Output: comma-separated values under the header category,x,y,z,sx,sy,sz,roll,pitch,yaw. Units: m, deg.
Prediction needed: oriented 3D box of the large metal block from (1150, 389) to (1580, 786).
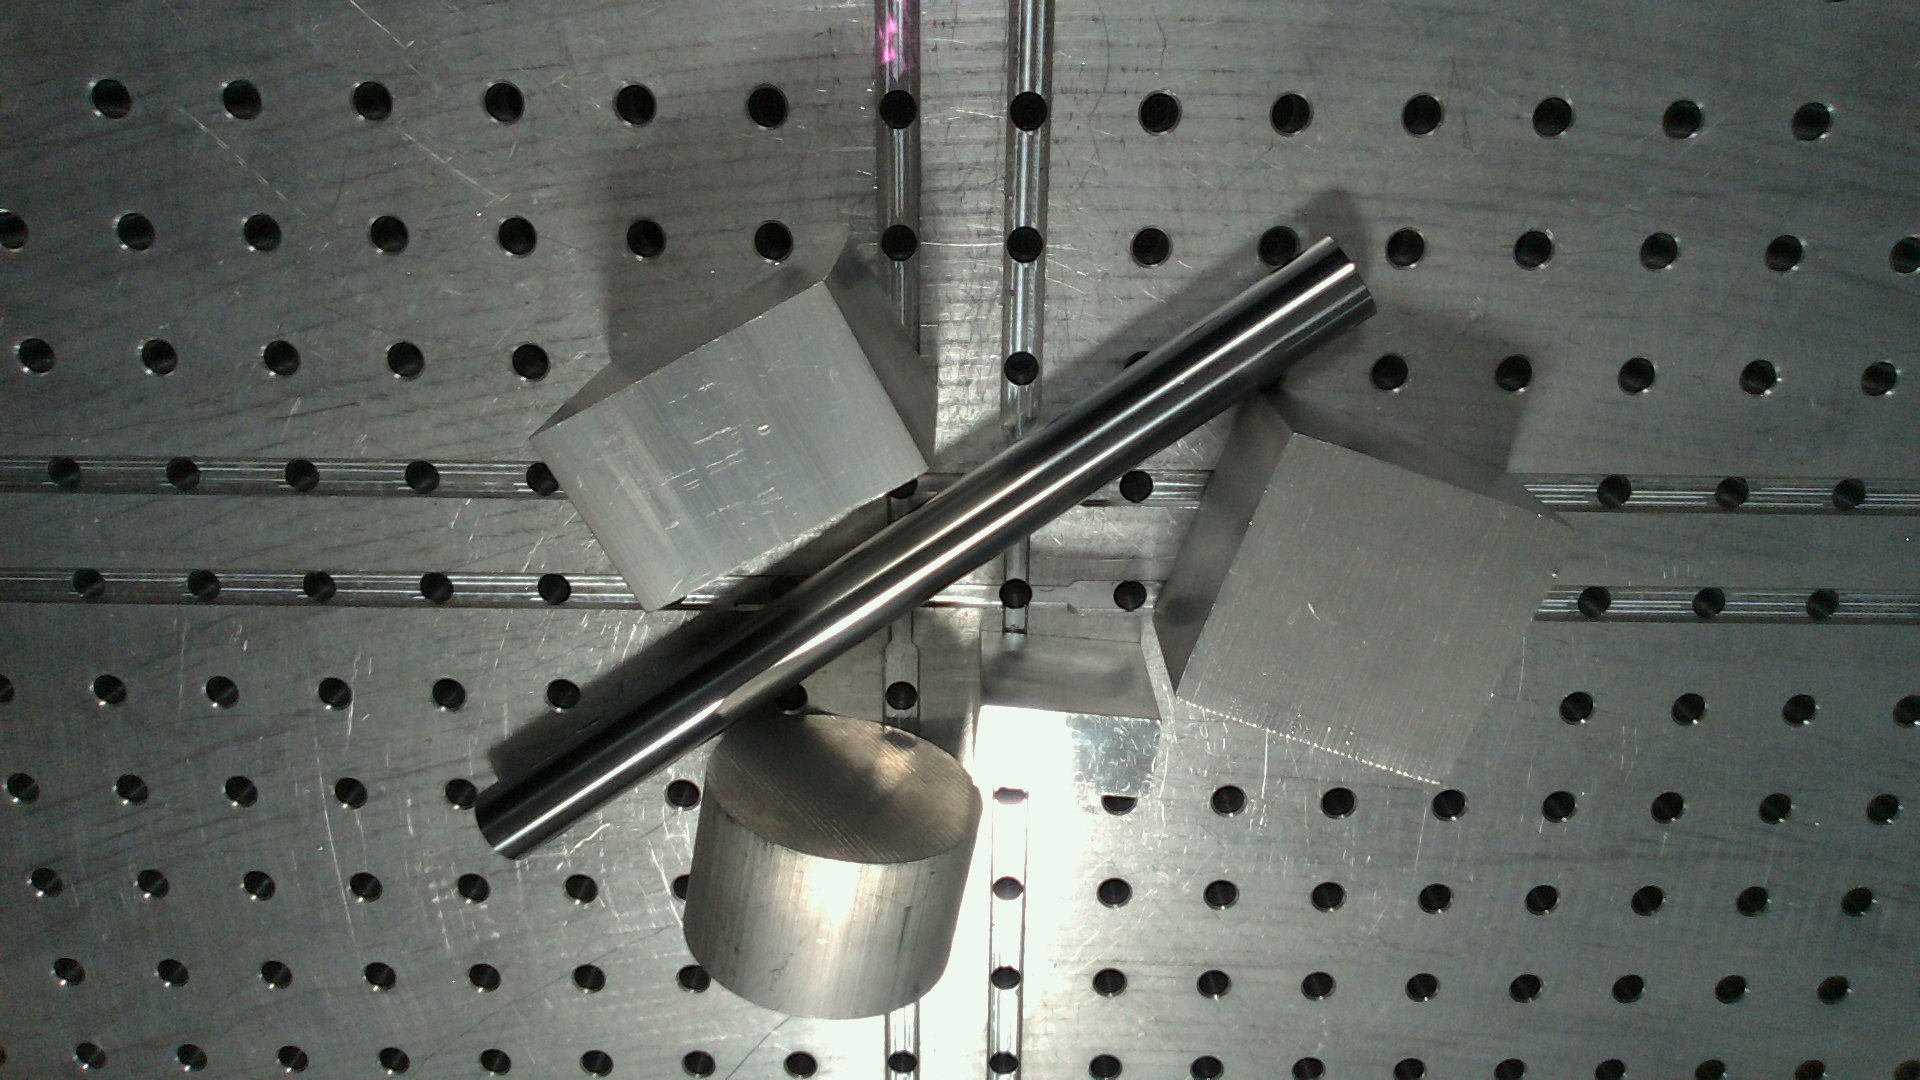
category,x,y,z,sx,sy,sz,roll,pitch,yaw
large metal block,0.109,0.011,0.385,0.080,0.050,0.080,18,109,-7

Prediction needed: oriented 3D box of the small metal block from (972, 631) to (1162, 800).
category,x,y,z,sx,sy,sz,roll,pitch,yaw
small metal block,0.029,0.050,0.402,0.050,0.050,0.025,5,110,-2

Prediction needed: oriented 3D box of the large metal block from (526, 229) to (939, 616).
category,x,y,z,sx,sy,sz,roll,pitch,yaw
large metal block,-0.053,-0.034,0.355,0.080,0.080,0.050,-27,108,9

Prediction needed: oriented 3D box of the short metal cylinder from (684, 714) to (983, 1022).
category,x,y,z,sx,sy,sz,roll,pitch,yaw
short metal cylinder,-0.037,0.093,0.400,0.080,0.080,0.050,11,110,-4

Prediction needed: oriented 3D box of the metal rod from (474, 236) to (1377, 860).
category,x,y,z,sx,sy,sz,roll,pitch,yaw
metal rod,-0.018,0.008,0.399,0.300,0.025,0.025,-33,107,11
